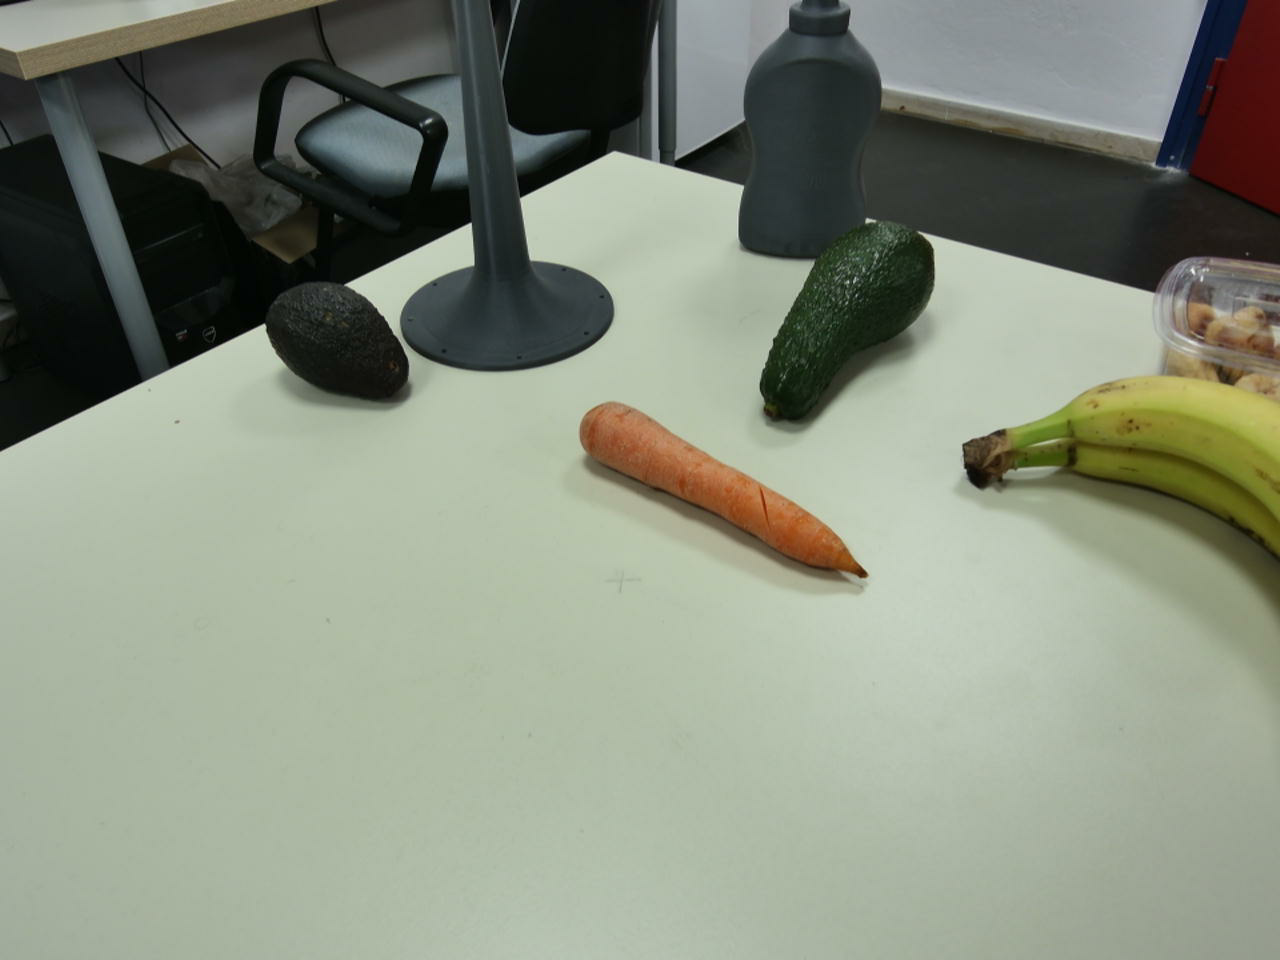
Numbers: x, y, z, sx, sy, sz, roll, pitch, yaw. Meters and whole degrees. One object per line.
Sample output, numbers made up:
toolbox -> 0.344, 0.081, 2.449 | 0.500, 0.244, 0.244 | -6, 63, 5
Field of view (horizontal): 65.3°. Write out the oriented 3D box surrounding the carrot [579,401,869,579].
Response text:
carrot -> 0.045, 0.002, 0.567 | 0.196, 0.041, 0.039 | 26, 44, 29
